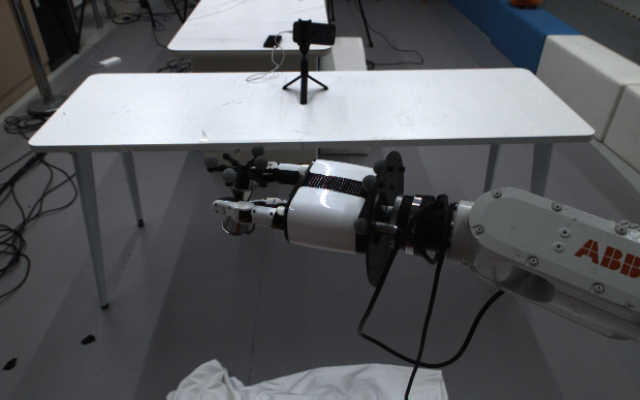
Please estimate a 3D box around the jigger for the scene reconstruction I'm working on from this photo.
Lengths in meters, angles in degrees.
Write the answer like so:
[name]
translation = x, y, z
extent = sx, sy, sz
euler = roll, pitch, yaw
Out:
[jigger]
translation = -0.102, 0.006, 0.623
extent = 0.043, 0.071, 0.043
euler = 9, 30, -5
